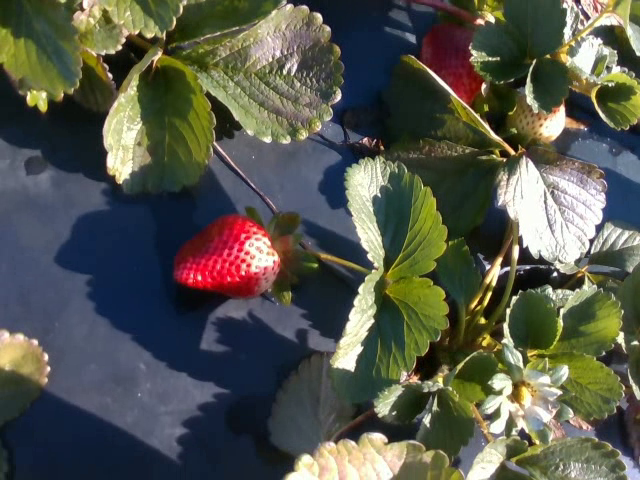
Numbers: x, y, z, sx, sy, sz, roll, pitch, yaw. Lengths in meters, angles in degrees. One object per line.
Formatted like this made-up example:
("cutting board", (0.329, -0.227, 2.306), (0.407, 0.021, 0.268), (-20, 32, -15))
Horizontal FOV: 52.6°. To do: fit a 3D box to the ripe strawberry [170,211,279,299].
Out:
("ripe strawberry", (-0.039, 0.009, 0.266), (0.056, 0.041, 0.045), (-17, 23, -29))
